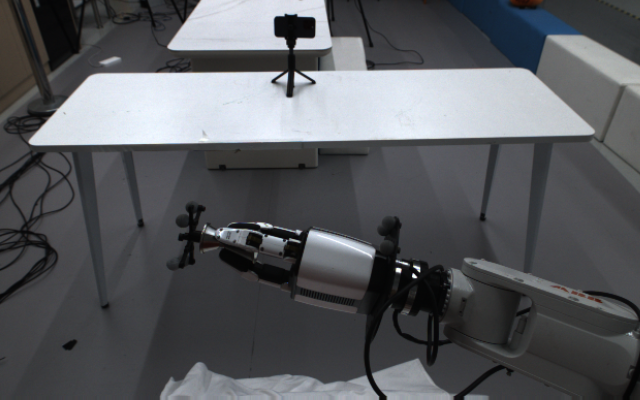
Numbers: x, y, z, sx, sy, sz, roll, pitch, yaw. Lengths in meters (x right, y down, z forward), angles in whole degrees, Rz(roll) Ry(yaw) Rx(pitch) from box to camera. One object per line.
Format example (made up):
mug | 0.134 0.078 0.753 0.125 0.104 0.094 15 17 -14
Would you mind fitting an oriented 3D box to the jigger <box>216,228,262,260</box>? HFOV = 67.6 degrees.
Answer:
jigger | -0.104 0.050 0.607 0.071 0.043 0.043 9 35 2
